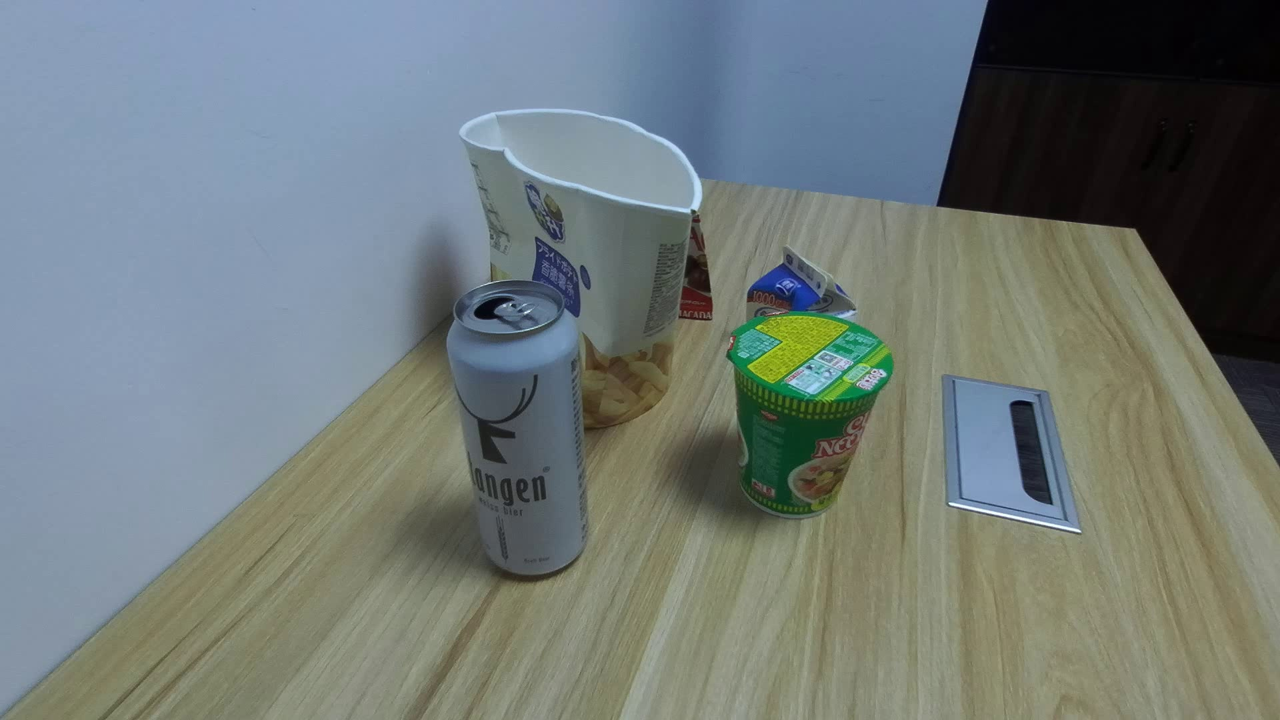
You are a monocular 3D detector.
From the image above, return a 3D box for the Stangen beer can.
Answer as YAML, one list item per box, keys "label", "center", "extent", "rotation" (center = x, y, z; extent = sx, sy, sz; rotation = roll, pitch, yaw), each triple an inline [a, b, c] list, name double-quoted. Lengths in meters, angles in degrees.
- label: "Stangen beer can"
  center: [-0.064, 0.044, 0.397]
  extent: [0.067, 0.171, 0.067]
  rotation: [0, 33, 0]

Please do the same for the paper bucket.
- label: "paper bucket"
  center: [-0.044, -0.067, 0.528]
  extent: [0.217, 0.199, 0.148]
  rotation: [12, 36, 19]

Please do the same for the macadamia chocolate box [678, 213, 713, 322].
- label: "macadamia chocolate box"
  center: [0.021, -0.106, 0.669]
  extent: [0.056, 0.112, 0.126]
  rotation: [-13, 35, -19]

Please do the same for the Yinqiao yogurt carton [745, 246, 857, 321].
- label: "Yinqiao yogurt carton"
  center: [0.135, -0.043, 0.590]
  extent: [0.071, 0.094, 0.077]
  rotation: [-17, 37, -11]

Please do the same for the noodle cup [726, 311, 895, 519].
- label: "noodle cup"
  center: [0.103, 0.039, 0.455]
  extent: [0.097, 0.110, 0.097]
  rotation: [-1, 34, 1]
